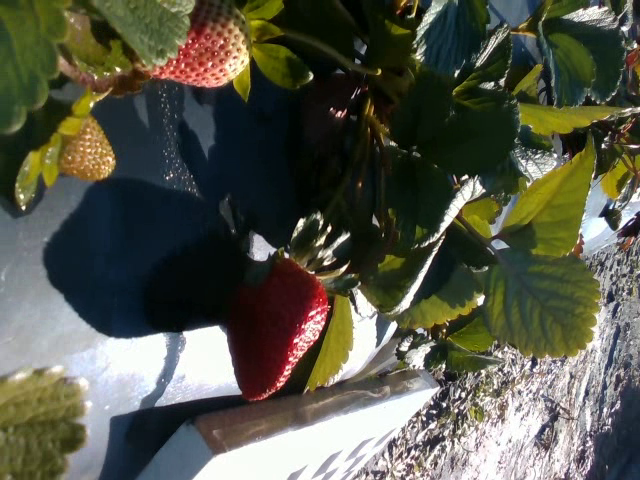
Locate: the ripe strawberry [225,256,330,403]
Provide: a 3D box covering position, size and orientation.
[{"bbox_3d":[-0.021,0.034,0.238,0.058,0.062,0.066,-4,-33,-10],"label":"ripe strawberry"}]
